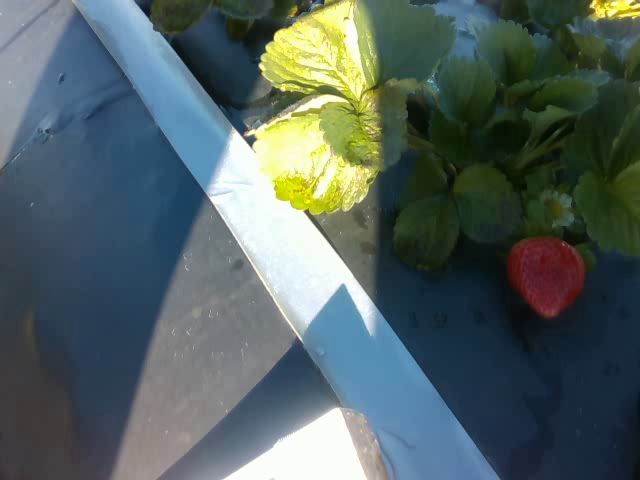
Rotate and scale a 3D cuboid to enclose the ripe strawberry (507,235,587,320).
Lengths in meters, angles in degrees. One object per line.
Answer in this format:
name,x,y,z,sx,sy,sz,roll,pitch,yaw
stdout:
ripe strawberry,0.120,0.022,0.352,0.045,0.059,0.042,-13,-46,35
